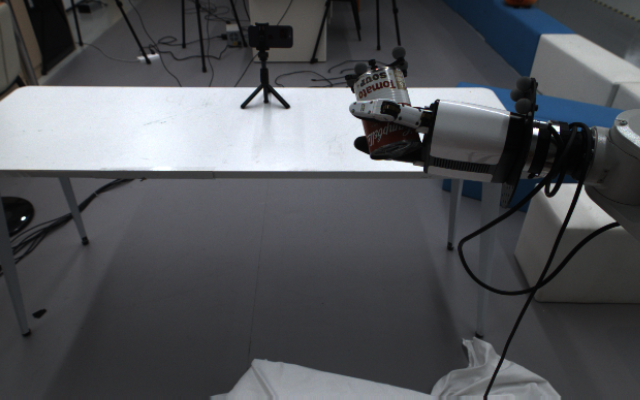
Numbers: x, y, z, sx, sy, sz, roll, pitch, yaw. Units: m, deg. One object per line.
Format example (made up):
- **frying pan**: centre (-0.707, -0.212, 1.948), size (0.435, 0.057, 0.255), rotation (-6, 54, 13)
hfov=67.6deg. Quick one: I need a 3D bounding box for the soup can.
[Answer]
- **soup can**: centre (0.087, -0.111, 0.626), size (0.067, 0.067, 0.101), rotation (-10, 79, -16)
